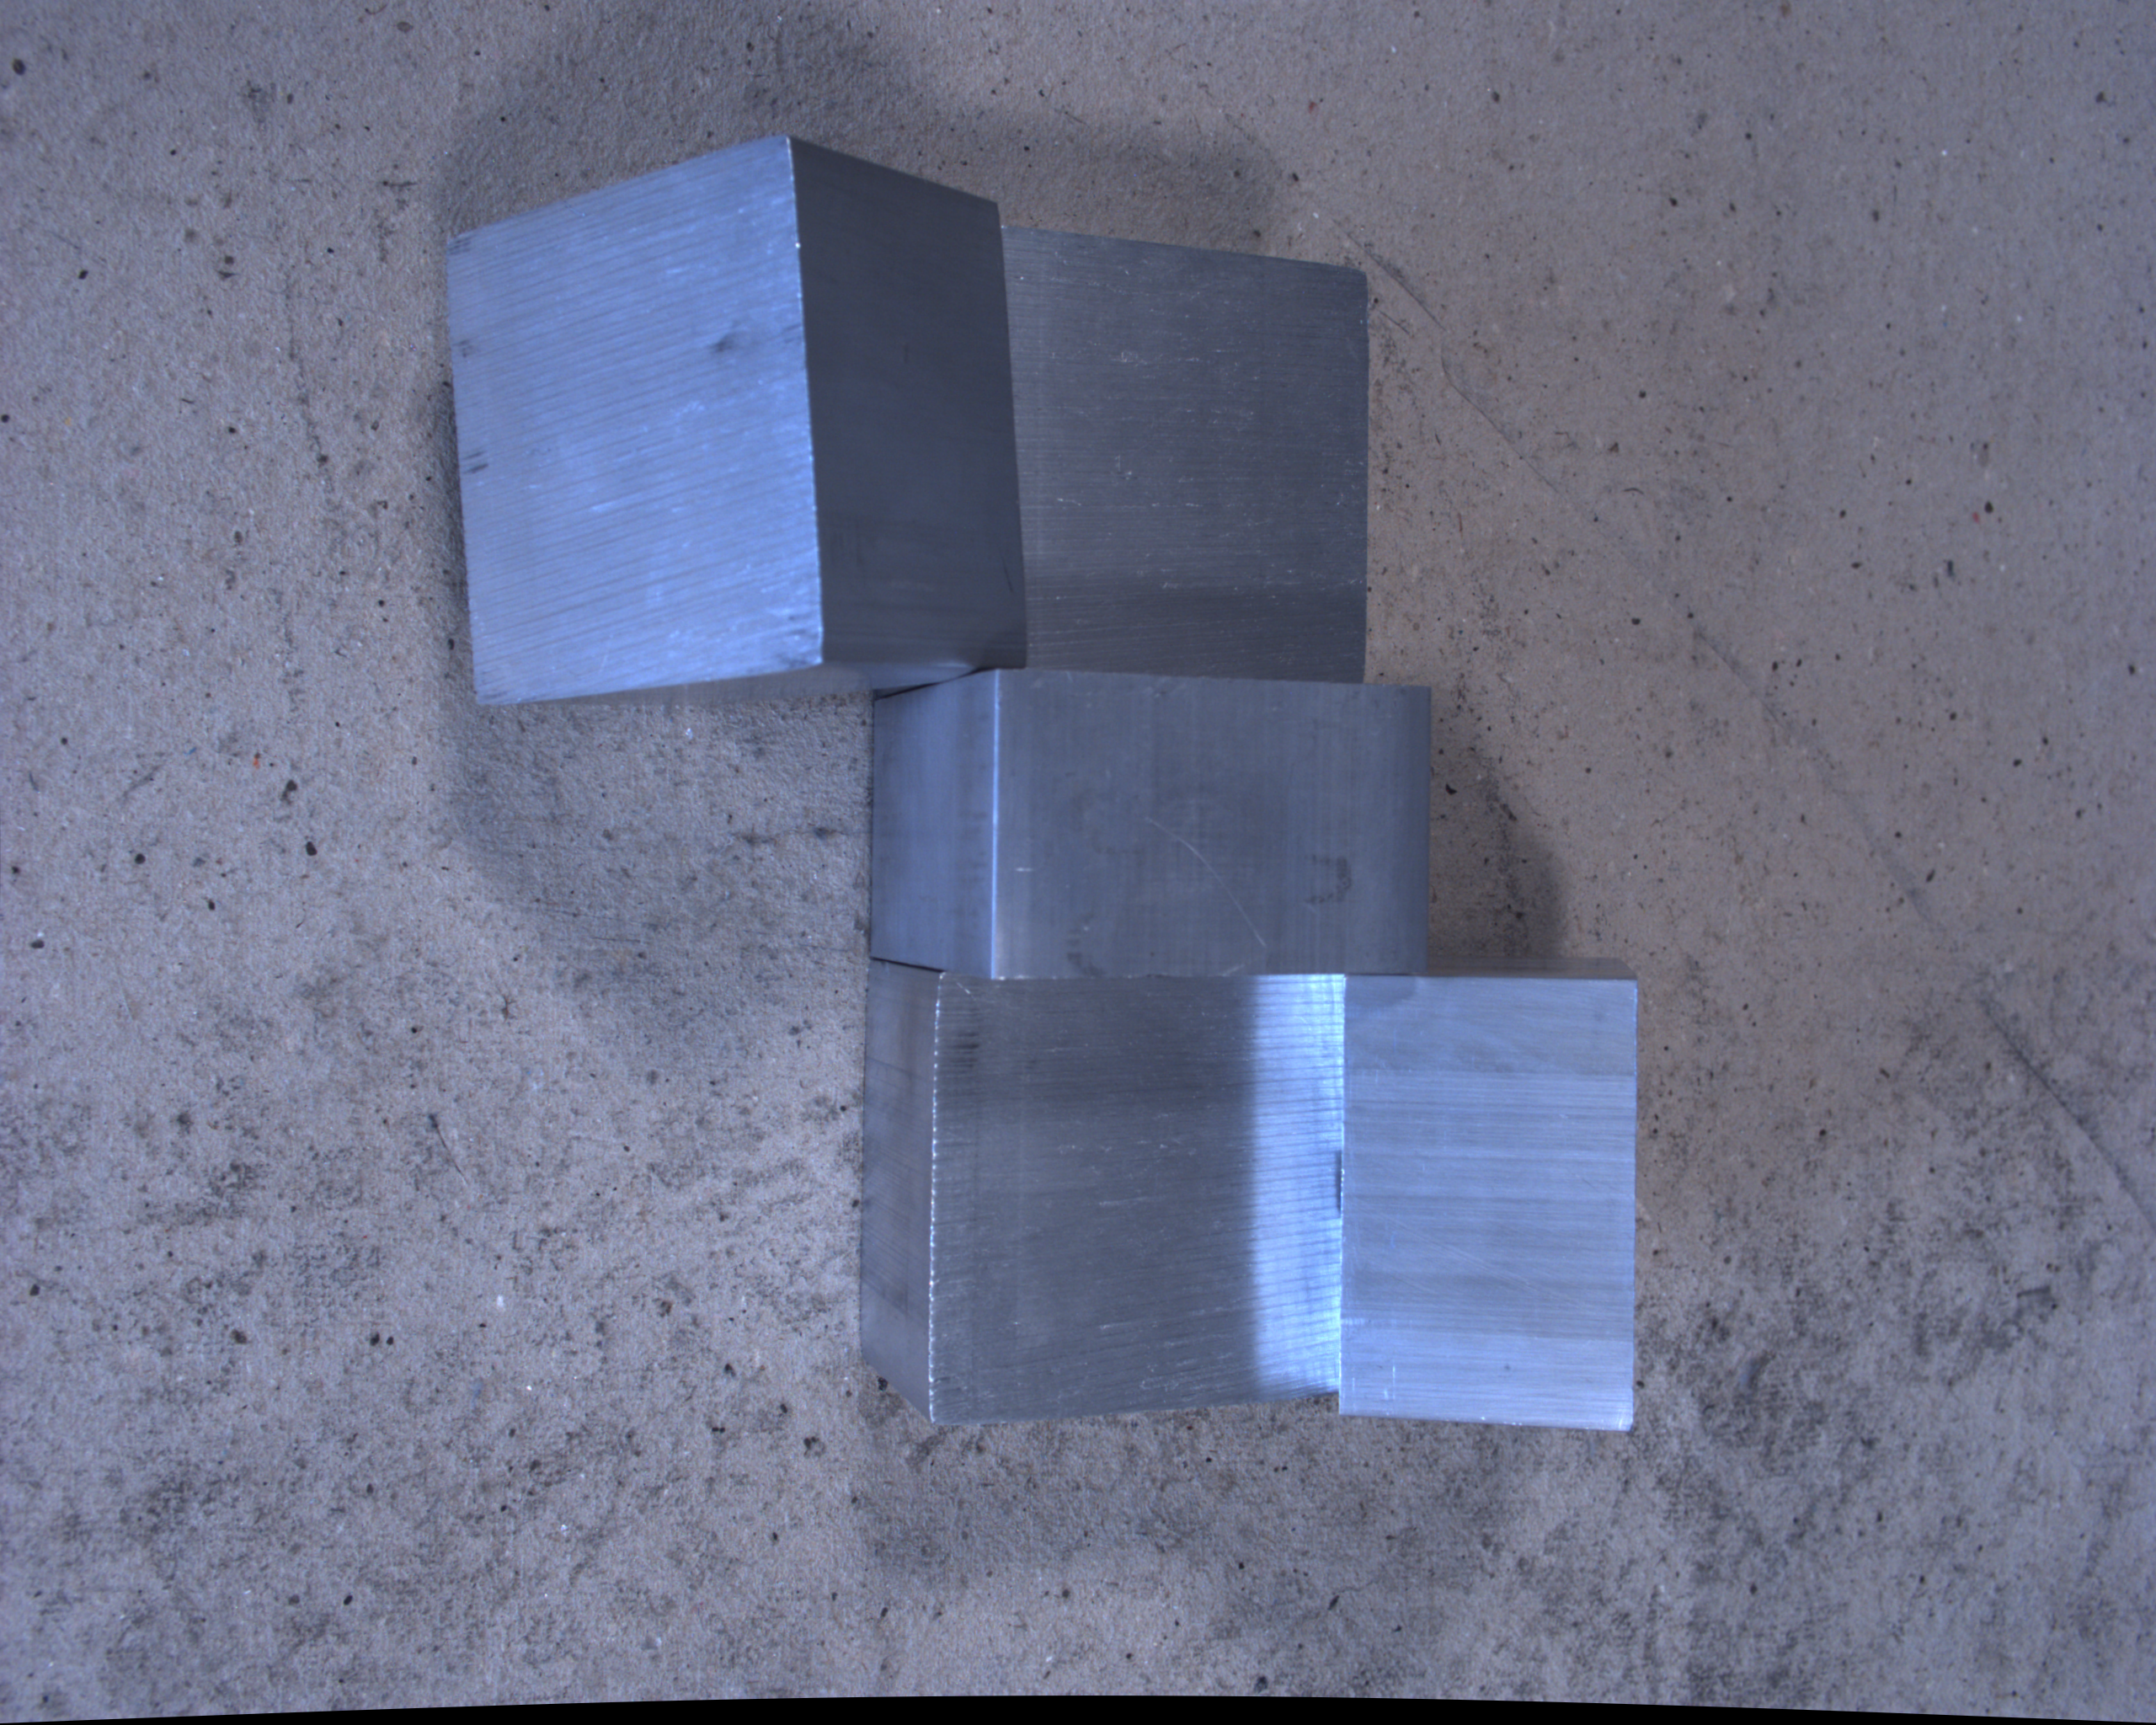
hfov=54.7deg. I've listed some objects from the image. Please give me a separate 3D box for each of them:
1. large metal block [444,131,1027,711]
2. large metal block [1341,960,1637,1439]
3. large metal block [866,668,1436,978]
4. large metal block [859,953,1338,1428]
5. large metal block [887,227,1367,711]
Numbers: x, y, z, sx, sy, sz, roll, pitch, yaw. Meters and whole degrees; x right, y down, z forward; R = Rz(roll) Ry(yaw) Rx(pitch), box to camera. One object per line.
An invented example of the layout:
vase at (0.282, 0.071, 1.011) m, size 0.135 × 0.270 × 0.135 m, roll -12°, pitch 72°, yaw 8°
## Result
large metal block at (-0.058, -0.068, 0.352) m, size 0.050 × 0.080 × 0.080 m, roll -5°, pitch 92°, yaw -54°
large metal block at (0.080, 0.059, 0.403) m, size 0.050 × 0.080 × 0.080 m, roll 0°, pitch 90°, yaw 12°
large metal block at (0.010, -0.006, 0.385) m, size 0.081 × 0.080 × 0.050 m, roll 0°, pitch 90°, yaw -20°
large metal block at (0.004, 0.058, 0.399) m, size 0.081 × 0.050 × 0.080 m, roll 1°, pitch 91°, yaw -20°
large metal block at (0.007, -0.071, 0.397) m, size 0.081 × 0.050 × 0.080 m, roll 1°, pitch 90°, yaw -20°
